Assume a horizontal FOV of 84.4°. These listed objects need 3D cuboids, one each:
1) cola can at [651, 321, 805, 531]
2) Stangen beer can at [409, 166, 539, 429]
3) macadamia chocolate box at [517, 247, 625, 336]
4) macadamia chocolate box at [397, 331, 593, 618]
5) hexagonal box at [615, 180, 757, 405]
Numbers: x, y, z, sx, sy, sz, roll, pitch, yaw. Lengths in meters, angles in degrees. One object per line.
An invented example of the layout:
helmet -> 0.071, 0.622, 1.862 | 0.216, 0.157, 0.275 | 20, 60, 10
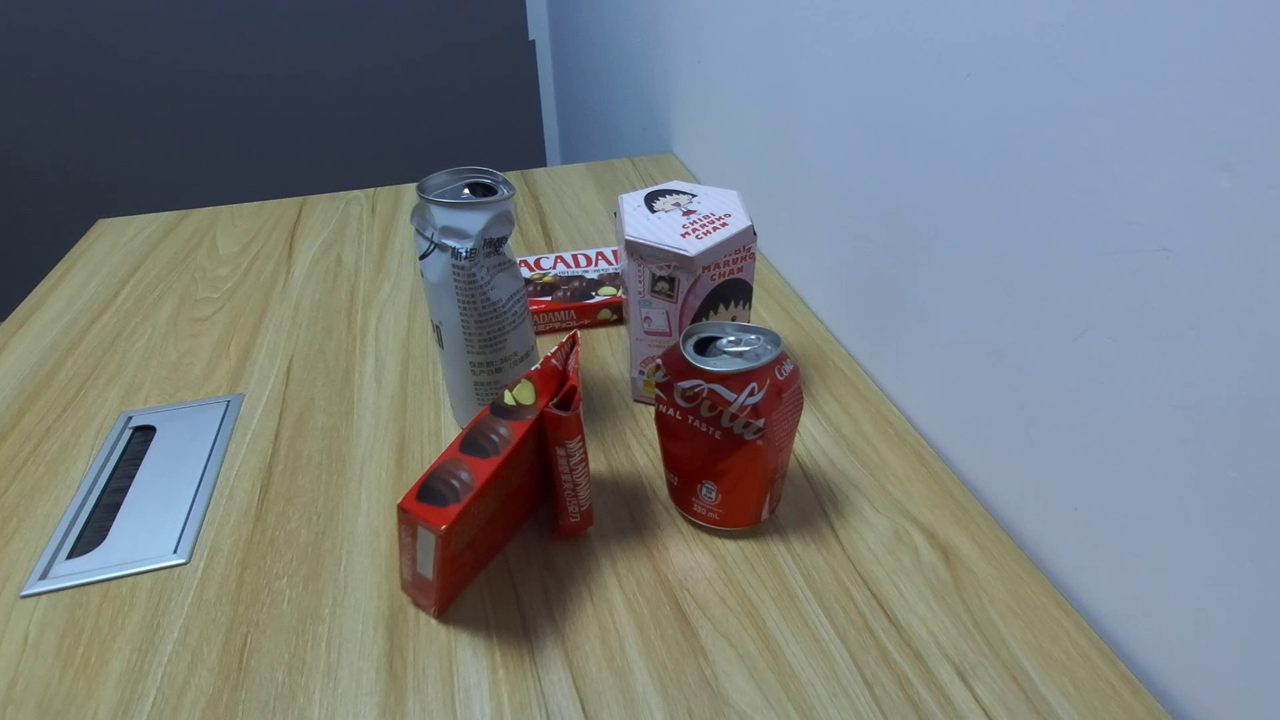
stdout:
cola can -> 0.049, 0.036, 0.387 | 0.066, 0.112, 0.069 | -23, 41, -28
Stangen beer can -> -0.098, -0.031, 0.447 | 0.066, 0.166, 0.065 | -29, 43, -35
macadamia chocolate box -> -0.041, -0.062, 0.606 | 0.187, 0.027, 0.102 | -10, 38, -10
macadamia chocolate box -> -0.068, 0.061, 0.361 | 0.056, 0.112, 0.127 | 24, 43, 30
hexagonal box -> 0.030, -0.041, 0.476 | 0.092, 0.135, 0.084 | -21, 39, -25
